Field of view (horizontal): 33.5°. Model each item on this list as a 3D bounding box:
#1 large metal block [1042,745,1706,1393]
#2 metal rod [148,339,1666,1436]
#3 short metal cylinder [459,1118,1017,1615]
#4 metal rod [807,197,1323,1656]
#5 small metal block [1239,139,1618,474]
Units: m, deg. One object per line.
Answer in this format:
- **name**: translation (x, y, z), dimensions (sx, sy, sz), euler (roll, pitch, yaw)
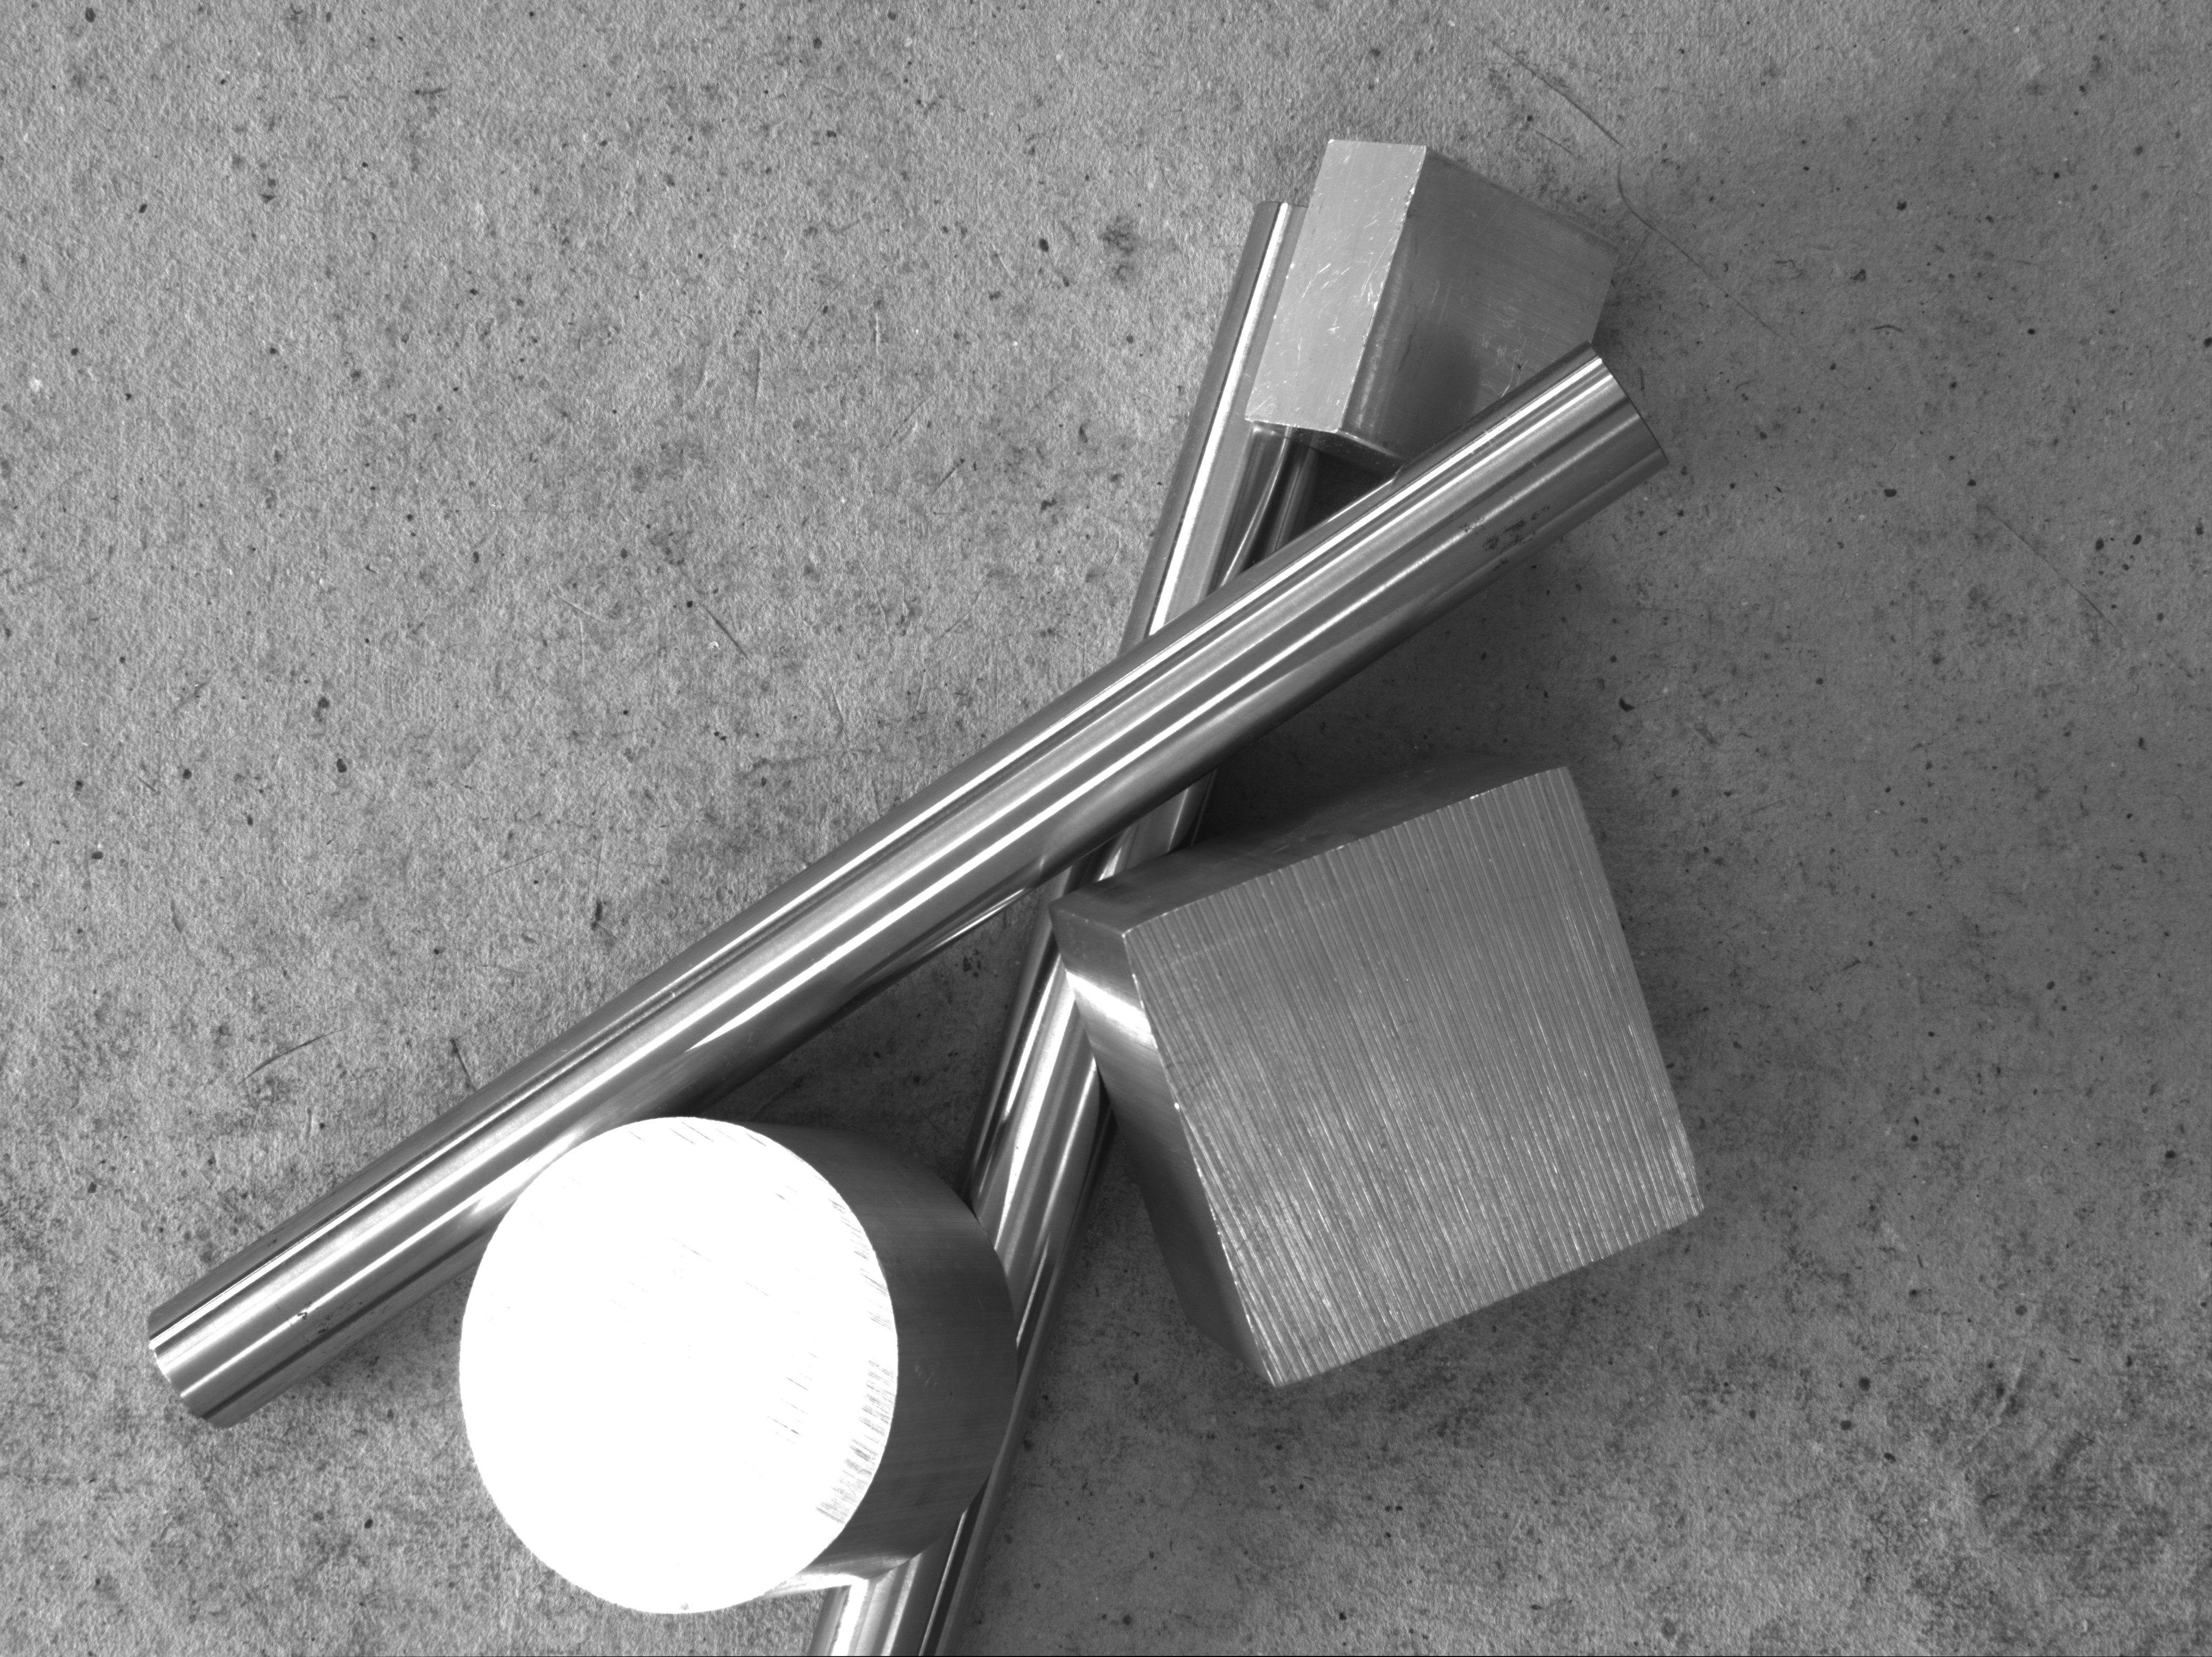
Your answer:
- **large metal block**: translation (0.044, 0.038, 0.619), dimensions (0.080, 0.050, 0.080), euler (-20, 99, -12)
- **metal rod**: translation (-0.037, 0.012, 0.629), dimensions (0.300, 0.025, 0.025), euler (-34, 90, 7)
- **short metal cylinder**: translation (-0.061, 0.090, 0.621), dimensions (0.080, 0.050, 0.080), euler (-3, 82, 20)
- **metal rod**: translation (-0.006, 0.037, 0.645), dimensions (0.025, 0.025, 0.300), euler (17, 90, 0)
- **small metal block**: translation (0.056, -0.086, 0.634), dimensions (0.050, 0.025, 0.050), euler (17, 89, -40)
